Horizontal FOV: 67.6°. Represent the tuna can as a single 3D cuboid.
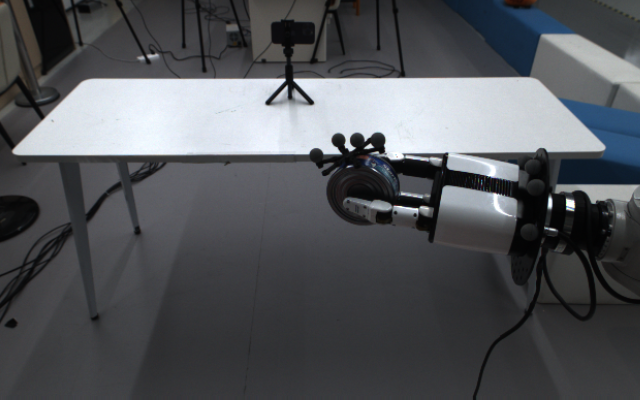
[{"bbox_3d":[0.054,-0.013,0.591,0.085,0.085,0.034,11,34,13],"label":"tuna can"}]
